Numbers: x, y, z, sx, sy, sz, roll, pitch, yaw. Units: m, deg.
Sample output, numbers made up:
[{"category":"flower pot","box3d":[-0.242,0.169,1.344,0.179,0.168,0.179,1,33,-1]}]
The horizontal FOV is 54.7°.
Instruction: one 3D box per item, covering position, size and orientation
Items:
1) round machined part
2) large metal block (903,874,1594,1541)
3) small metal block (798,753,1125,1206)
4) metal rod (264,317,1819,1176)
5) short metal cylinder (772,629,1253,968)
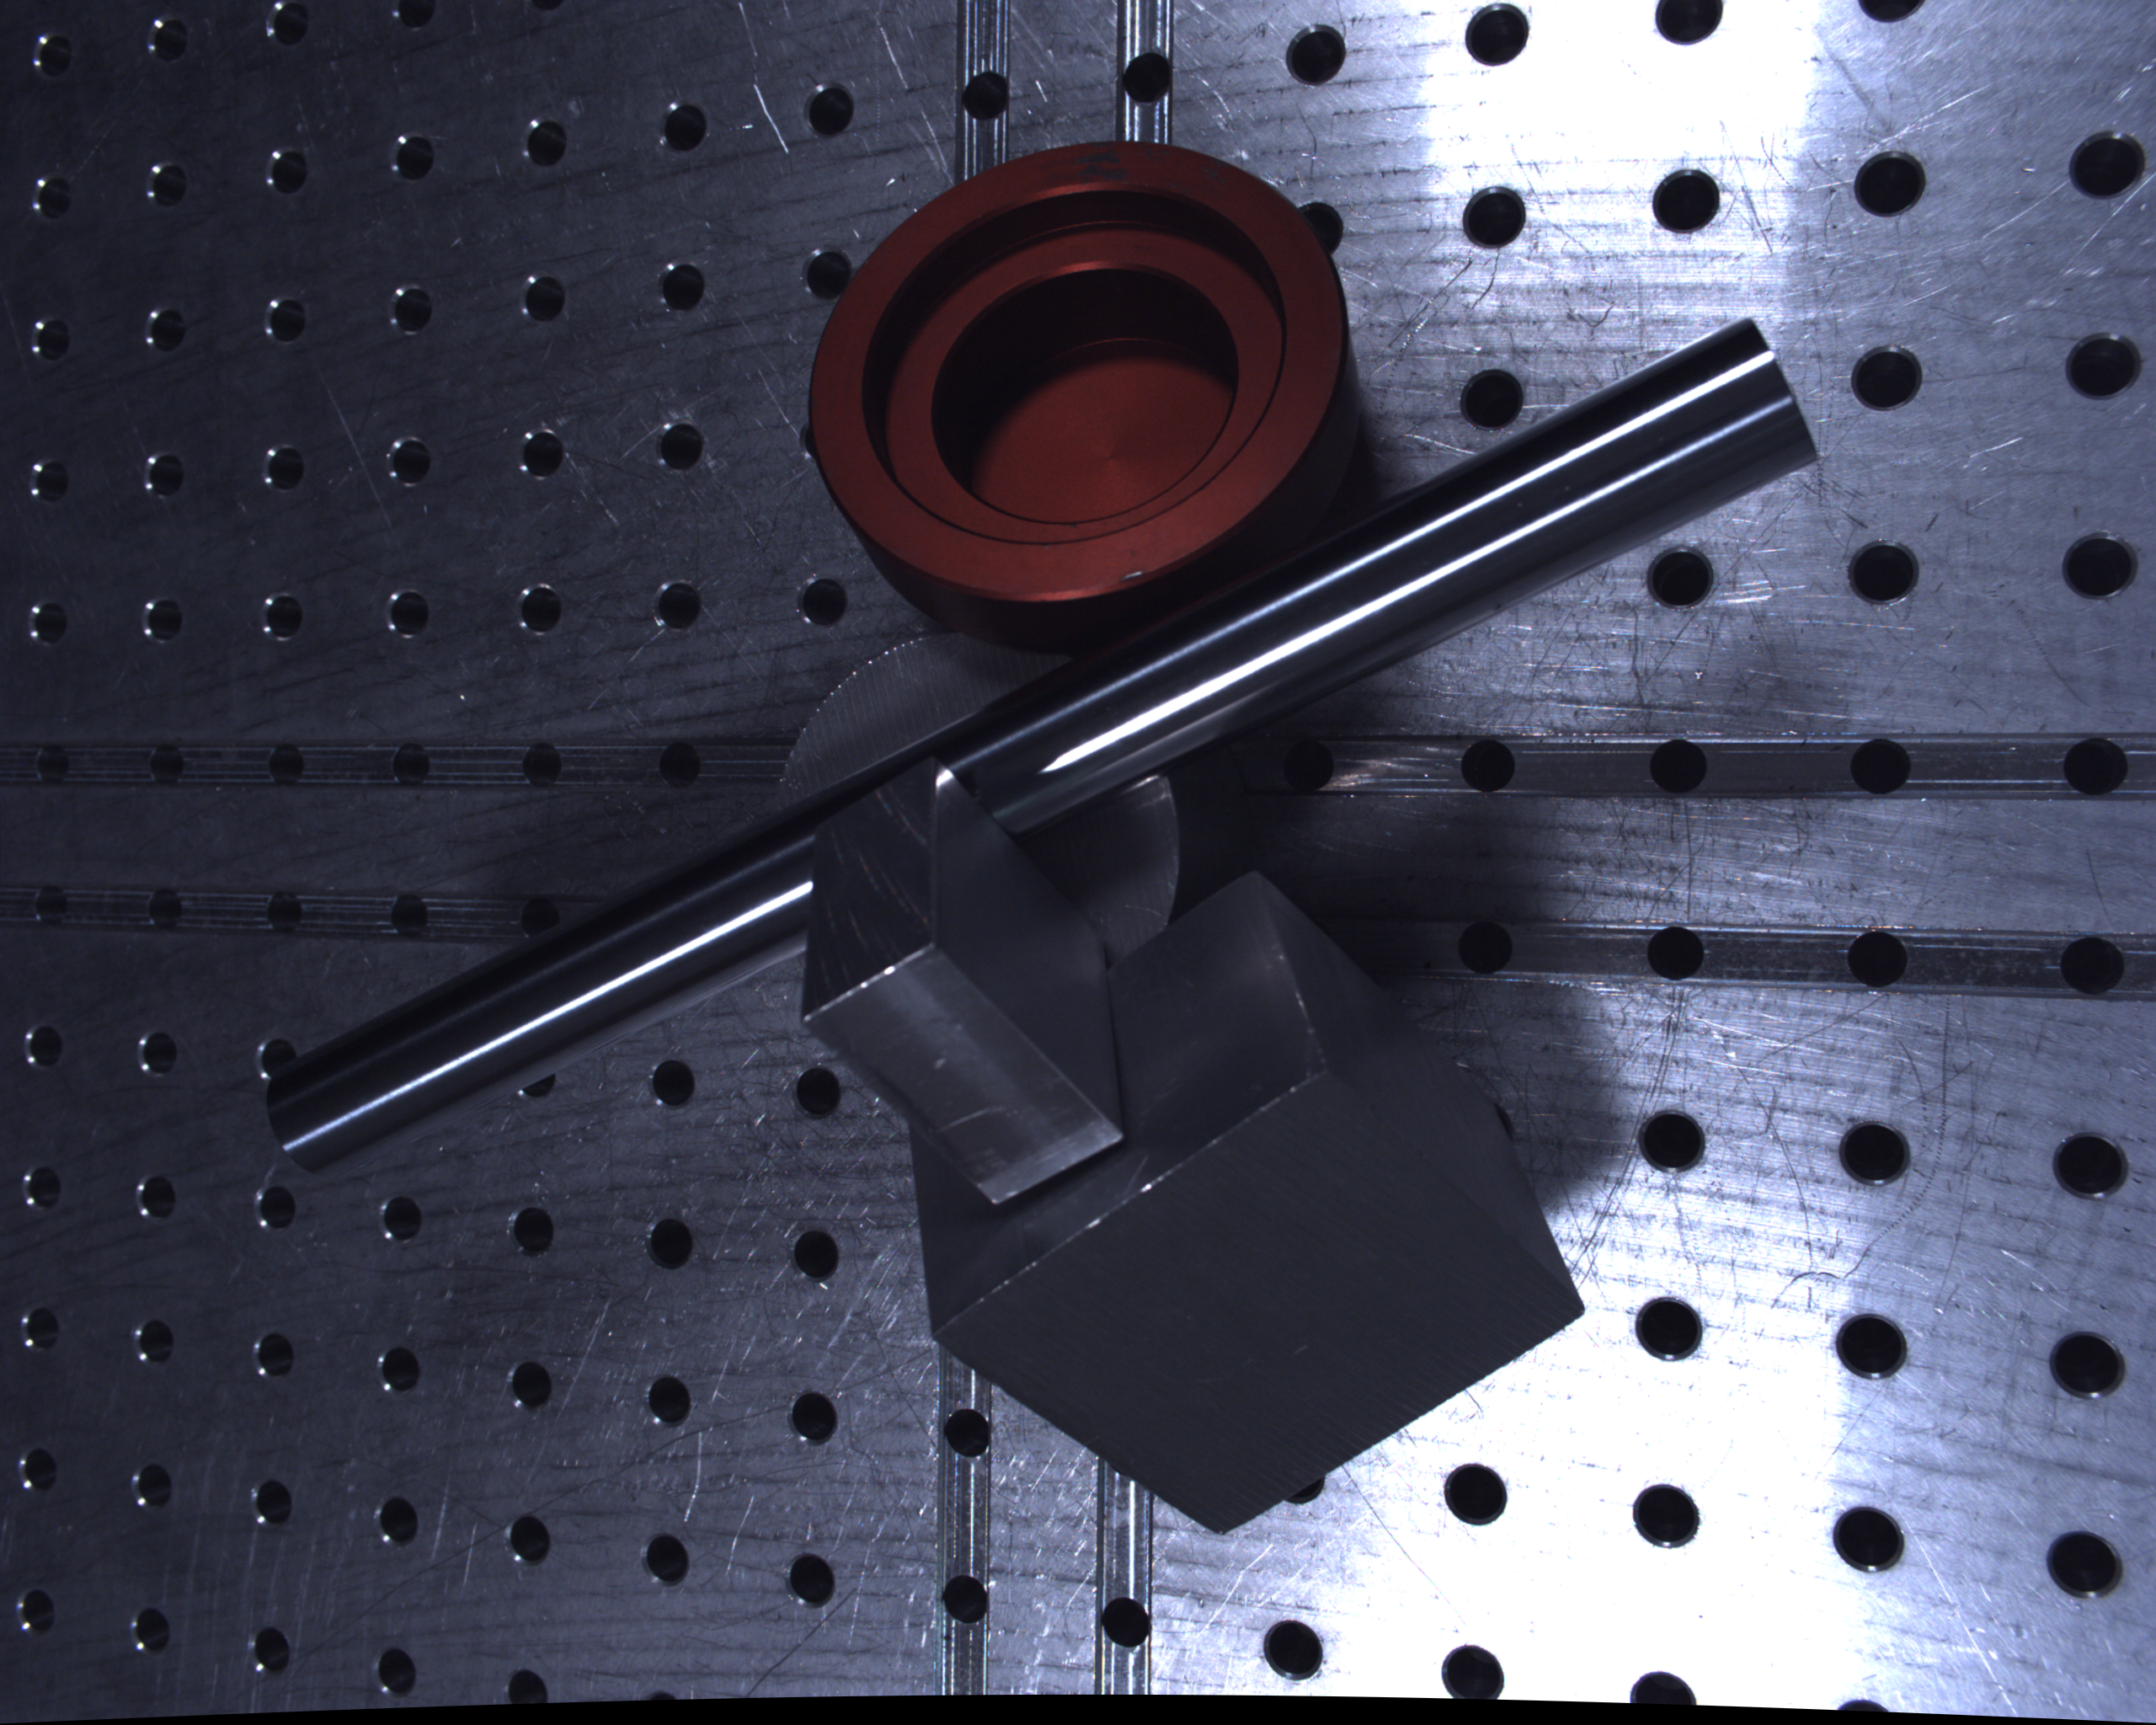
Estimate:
[{"category":"round machined part","box3d":[0.003,-0.082,0.389,0.098,0.042,0.098,-5,67,11]},{"category":"large metal block","box3d":[0.028,0.062,0.364,0.080,0.050,0.080,-37,123,16]},{"category":"small metal block","box3d":[-0.019,0.019,0.340,0.025,0.050,0.050,-31,122,17]},{"category":"metal rod","box3d":[-0.021,-0.011,0.365,0.300,0.025,0.025,-25,82,17]},{"category":"short metal cylinder","box3d":[-0.012,-0.003,0.402,0.080,0.050,0.079,0,90,19]}]
